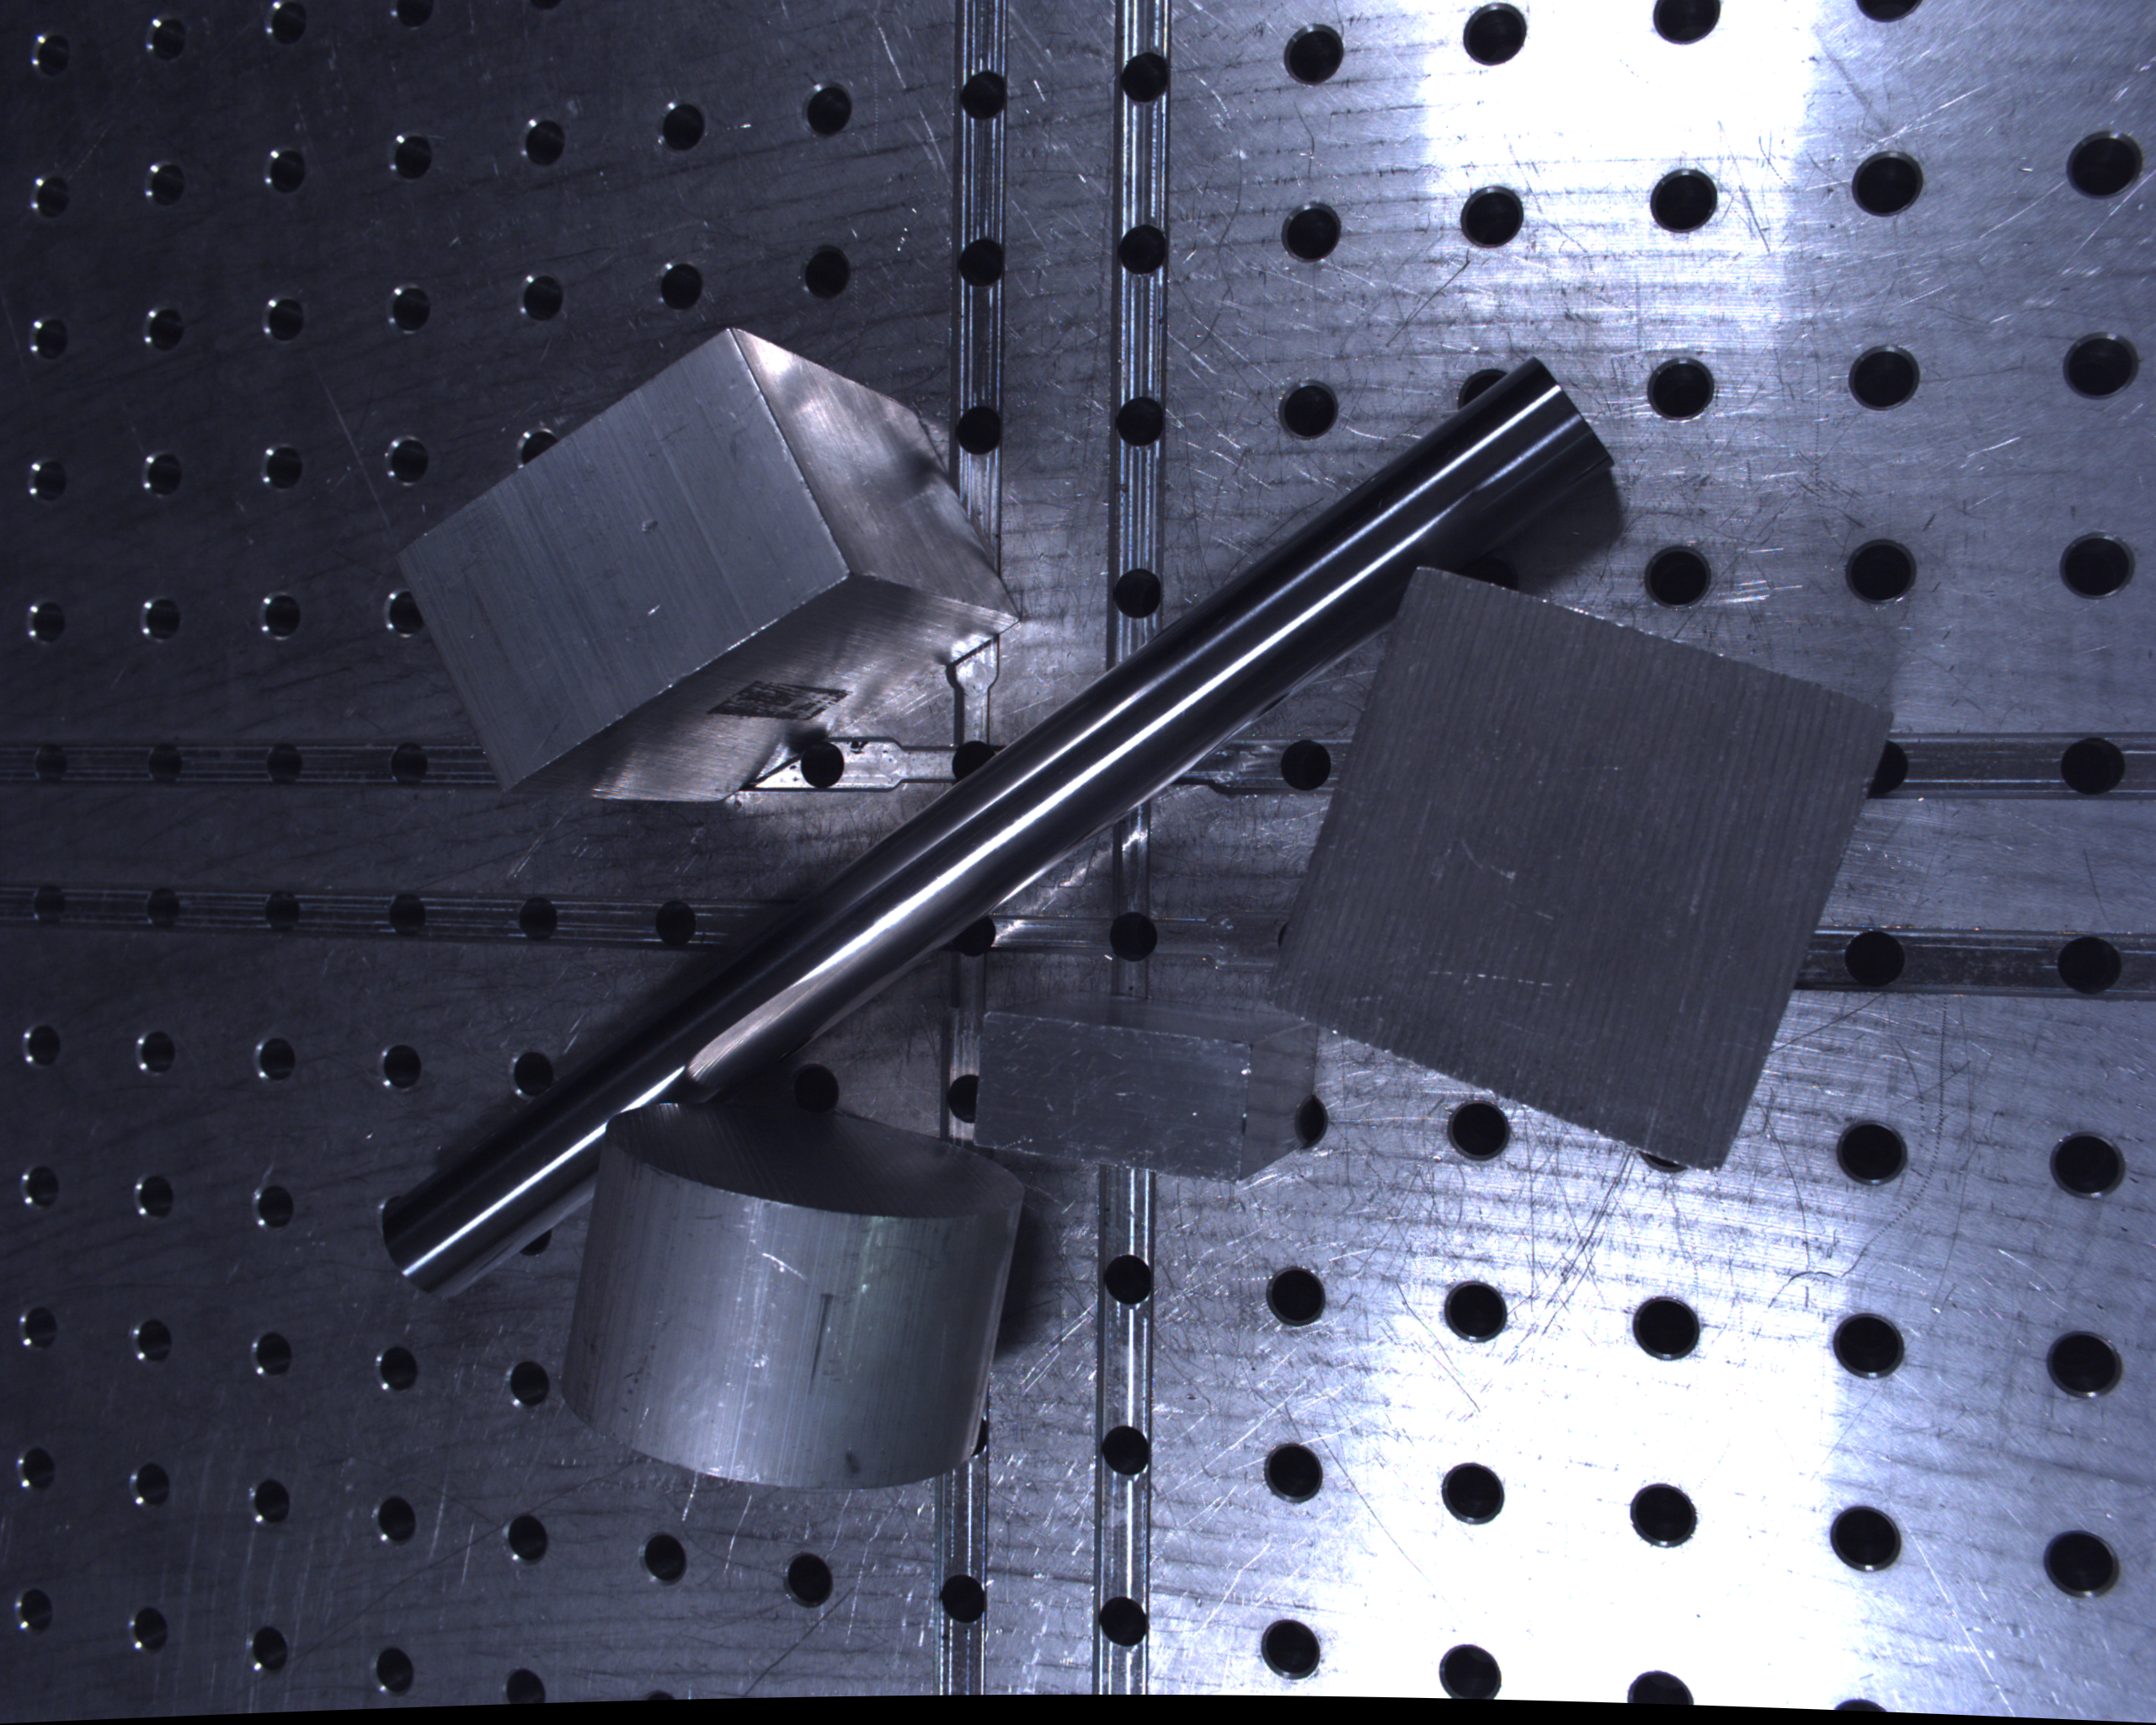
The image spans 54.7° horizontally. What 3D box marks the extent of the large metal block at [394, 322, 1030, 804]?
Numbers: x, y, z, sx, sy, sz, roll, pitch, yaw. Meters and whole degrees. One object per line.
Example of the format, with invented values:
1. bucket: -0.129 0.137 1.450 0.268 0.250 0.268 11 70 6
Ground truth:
1. large metal block: -0.068 -0.053 0.407 0.080 0.080 0.050 -30 81 17

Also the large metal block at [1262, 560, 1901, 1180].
1. large metal block: 0.088 0.000 0.365 0.080 0.050 0.080 20 97 18

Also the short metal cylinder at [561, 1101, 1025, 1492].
1. short metal cylinder: -0.055 0.081 0.401 0.080 0.080 0.050 12 94 19

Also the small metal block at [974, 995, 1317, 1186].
1. small metal block: 0.014 0.042 0.394 0.050 0.050 0.025 6 92 19

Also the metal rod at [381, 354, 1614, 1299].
1. metal rod: -0.027 0.001 0.420 0.300 0.025 0.025 -36 79 16
